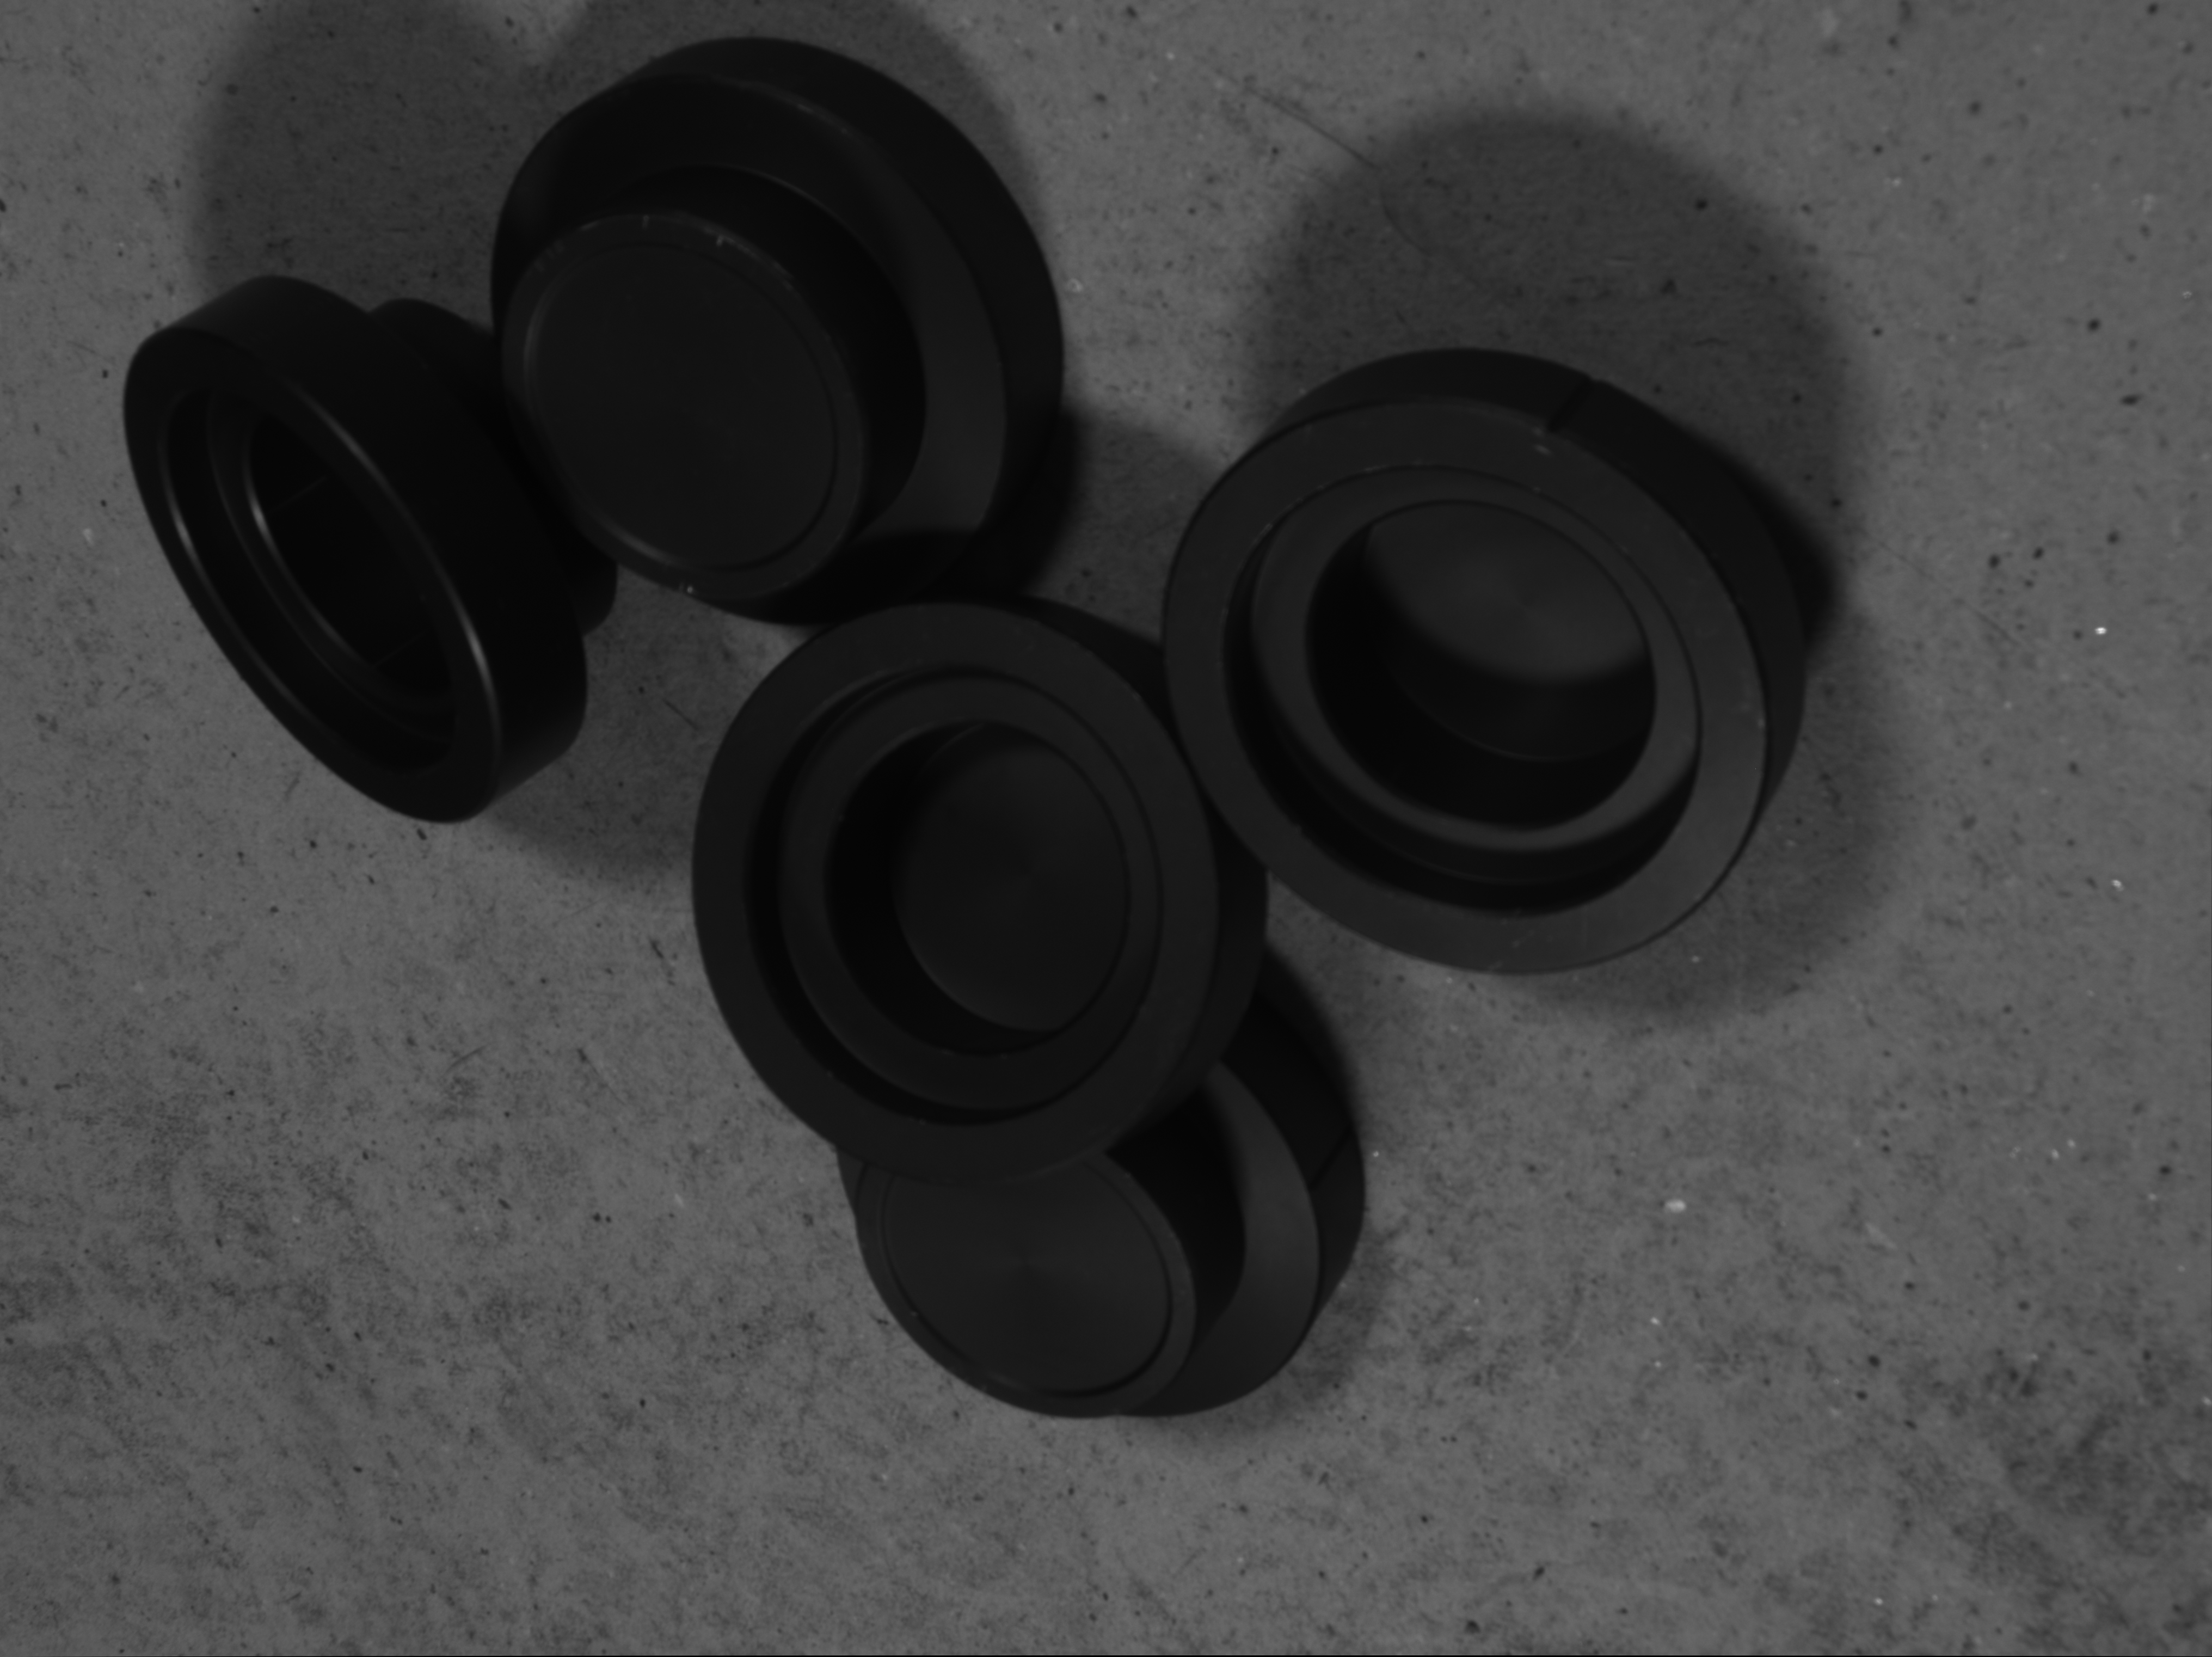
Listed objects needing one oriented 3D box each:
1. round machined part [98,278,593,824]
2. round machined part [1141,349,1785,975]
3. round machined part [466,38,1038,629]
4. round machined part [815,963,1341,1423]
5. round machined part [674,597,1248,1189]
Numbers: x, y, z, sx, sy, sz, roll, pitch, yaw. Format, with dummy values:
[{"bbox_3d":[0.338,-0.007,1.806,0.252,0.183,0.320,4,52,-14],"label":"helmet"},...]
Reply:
[{"bbox_3d":[-0.128,-0.053,0.639,0.098,0.042,0.098,32,144,27],"label":"round machined part"},{"bbox_3d":[0.058,-0.030,0.573,0.098,0.042,0.098,12,123,20],"label":"round machined part"},{"bbox_3d":[-0.064,-0.077,0.606,0.098,0.042,0.098,12,123,20],"label":"round machined part"},{"bbox_3d":[-0.010,0.068,0.666,0.098,0.042,0.098,12,123,20],"label":"round machined part"},{"bbox_3d":[-0.021,0.009,0.623,0.098,0.042,0.098,2,96,24],"label":"round machined part"}]
